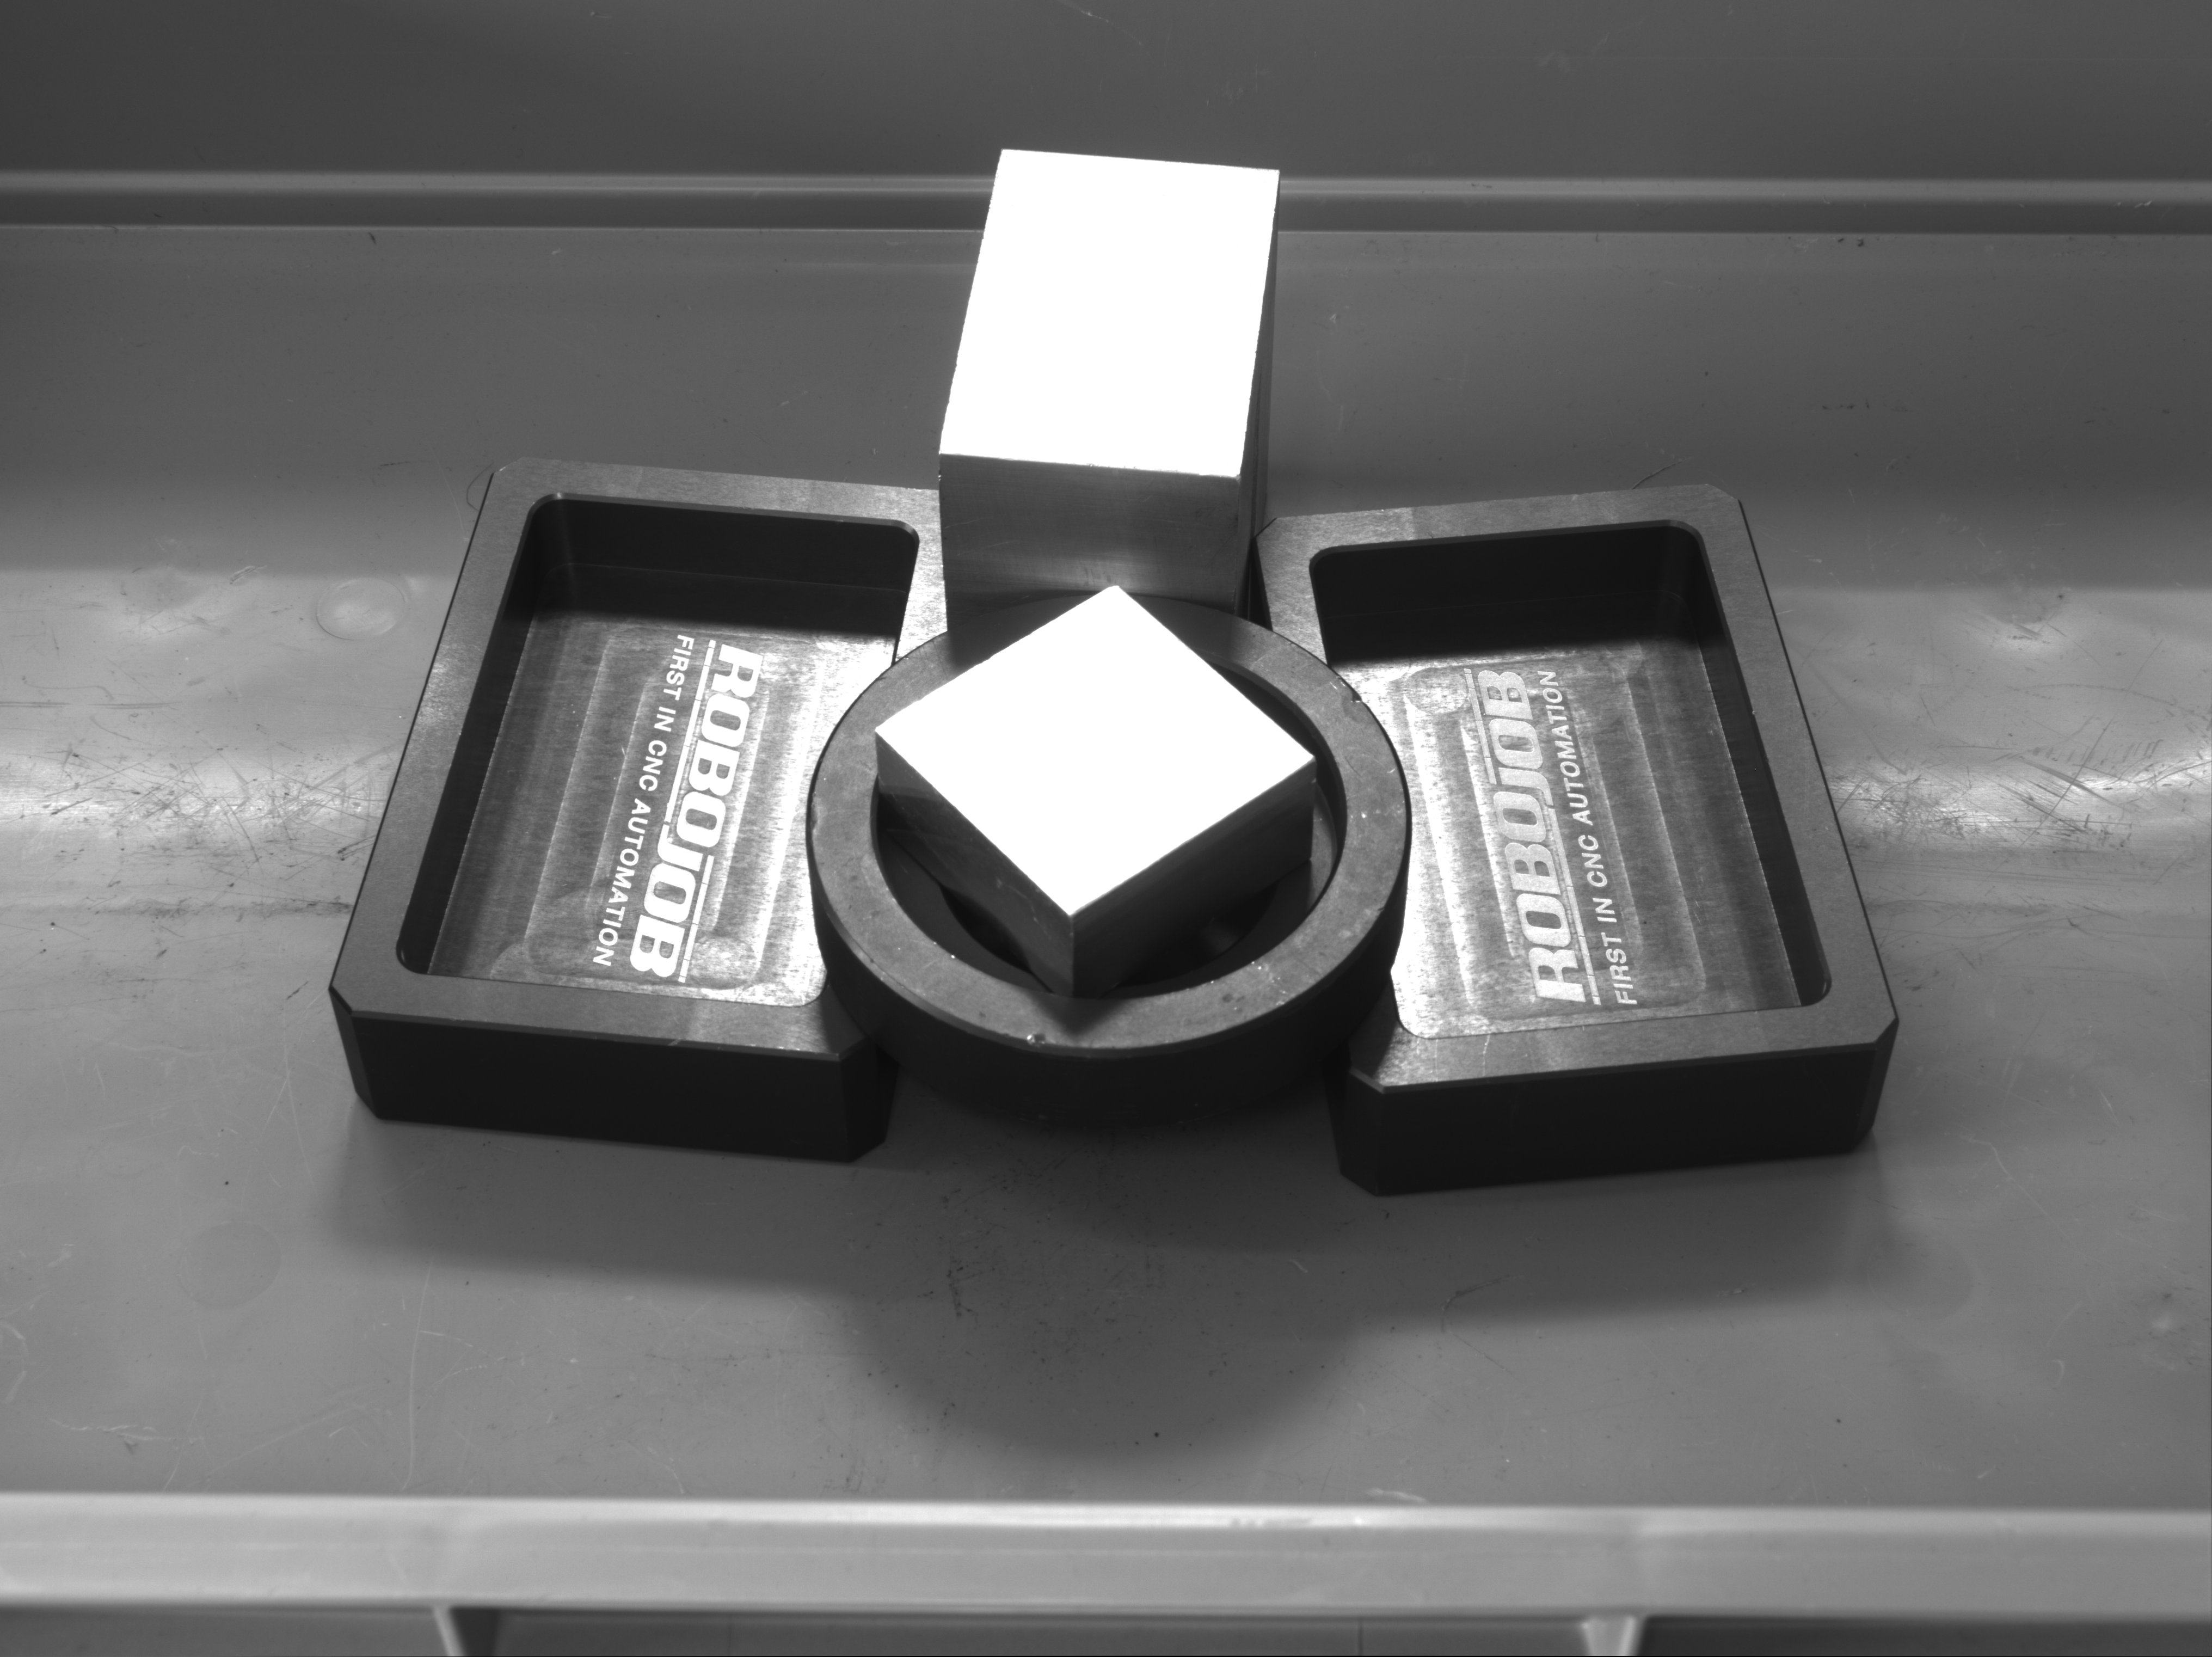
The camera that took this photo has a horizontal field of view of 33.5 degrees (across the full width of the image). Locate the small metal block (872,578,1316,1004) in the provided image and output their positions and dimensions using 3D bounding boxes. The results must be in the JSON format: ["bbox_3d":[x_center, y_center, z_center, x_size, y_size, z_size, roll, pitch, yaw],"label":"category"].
[{"bbox_3d":[-0.002,-0.006,0.591,0.050,0.025,0.050,-32,57,-24],"label":"small metal block"}]

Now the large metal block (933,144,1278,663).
[{"bbox_3d":[0.001,-0.064,0.659,0.050,0.080,0.080,5,50,4],"label":"large metal block"}]

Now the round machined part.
[{"bbox_3d":[0.001,0.010,0.609,0.098,0.042,0.098,0,50,0],"label":"round machined part"}]

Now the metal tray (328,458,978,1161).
[{"bbox_3d":[-0.075,-0.007,0.643,0.090,0.030,0.130,5,50,4],"label":"metal tray"}]

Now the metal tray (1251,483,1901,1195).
[{"bbox_3d":[0.077,-0.001,0.638,0.090,0.030,0.130,-5,50,-4],"label":"metal tray"}]
